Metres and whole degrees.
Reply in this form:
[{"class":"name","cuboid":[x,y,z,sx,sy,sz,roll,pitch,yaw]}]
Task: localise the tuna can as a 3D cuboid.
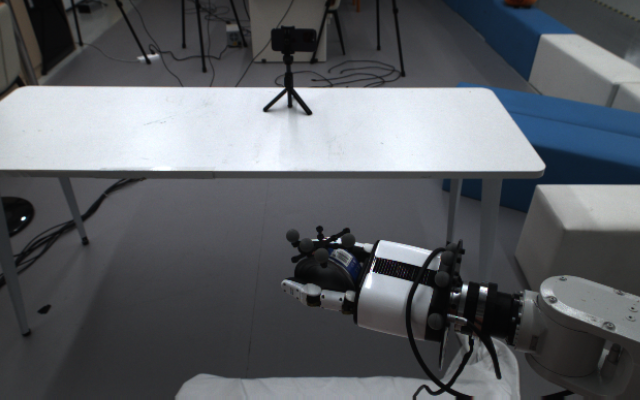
[{"class":"tuna can","cuboid":[0.014,0.098,0.629,0.085,0.085,0.034,17,37,20]}]
